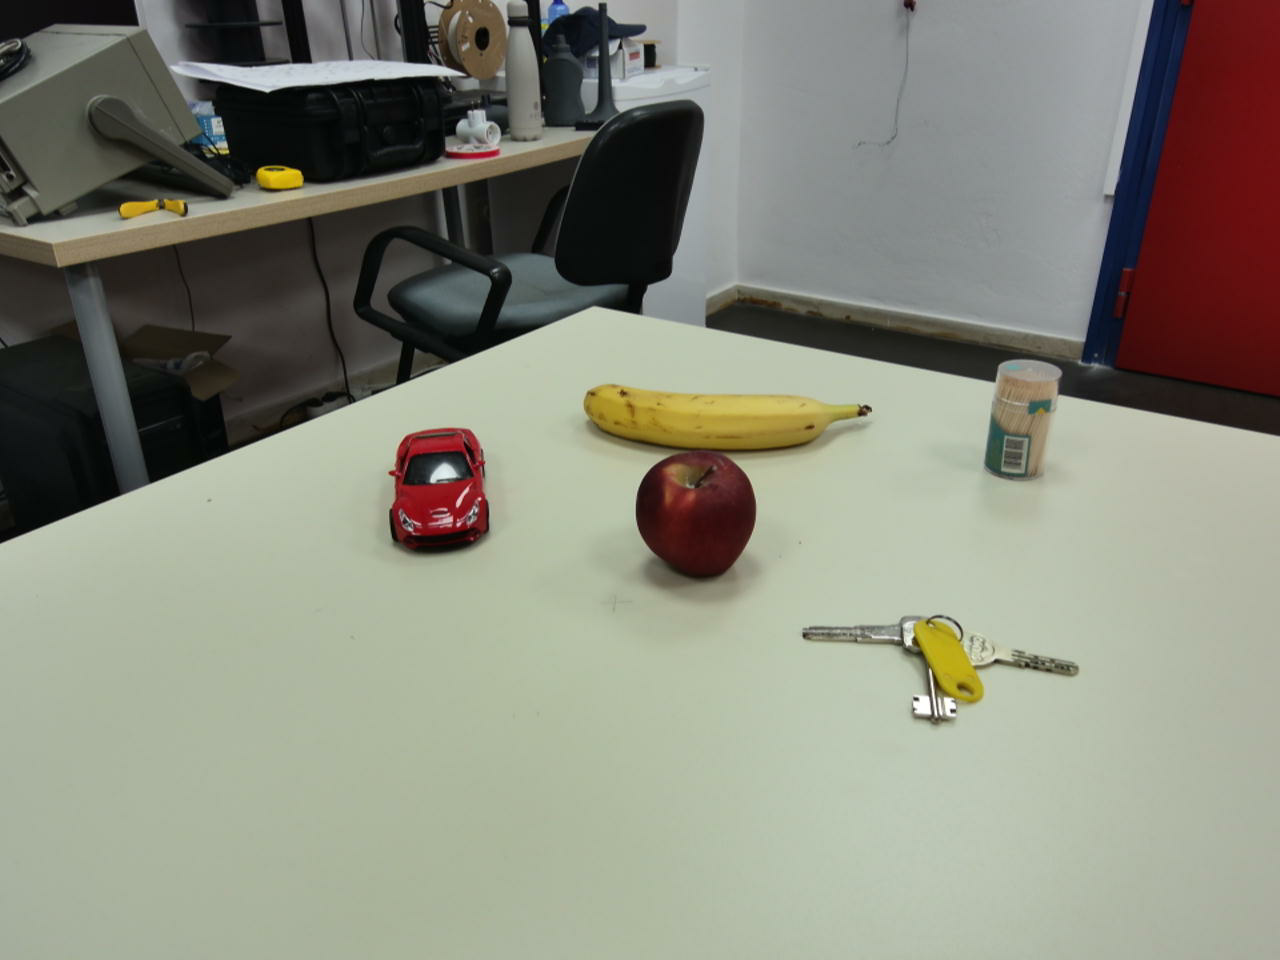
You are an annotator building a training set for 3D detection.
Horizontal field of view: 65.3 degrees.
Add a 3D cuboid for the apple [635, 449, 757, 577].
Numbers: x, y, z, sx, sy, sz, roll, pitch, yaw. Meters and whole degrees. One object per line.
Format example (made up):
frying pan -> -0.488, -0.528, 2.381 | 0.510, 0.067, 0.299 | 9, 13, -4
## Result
apple -> 0.032, 0.019, 0.572 | 0.070, 0.072, 0.070 | 1, 25, 0
